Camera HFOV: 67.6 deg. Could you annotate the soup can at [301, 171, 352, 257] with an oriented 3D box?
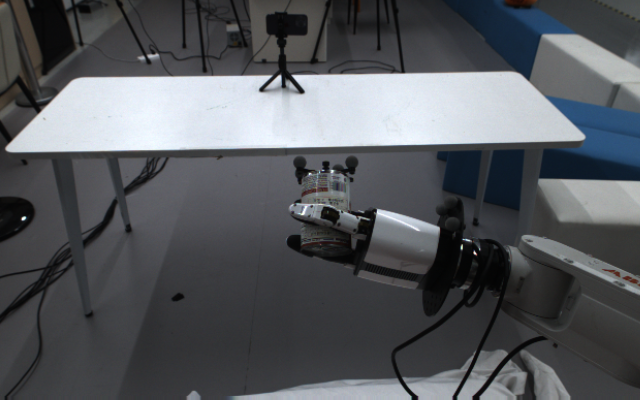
[{"bbox_3d":[0.009,0.019,0.636,0.067,0.067,0.101,1,73,-2],"label":"soup can"}]
